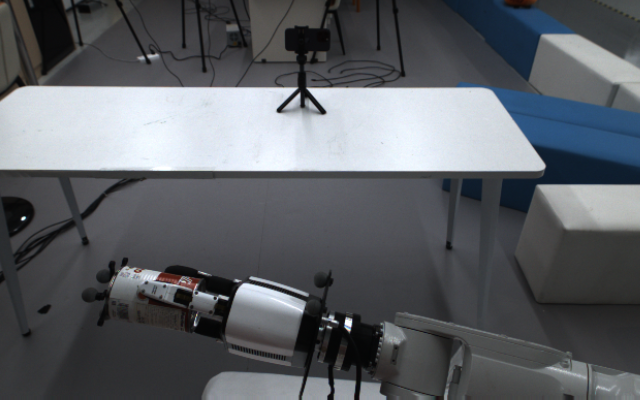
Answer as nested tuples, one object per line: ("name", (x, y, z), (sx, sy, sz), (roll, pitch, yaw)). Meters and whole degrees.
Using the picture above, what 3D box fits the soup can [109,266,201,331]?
("soup can", (-0.197, 0.124, 0.595), (0.101, 0.067, 0.067), (10, 35, -1))
